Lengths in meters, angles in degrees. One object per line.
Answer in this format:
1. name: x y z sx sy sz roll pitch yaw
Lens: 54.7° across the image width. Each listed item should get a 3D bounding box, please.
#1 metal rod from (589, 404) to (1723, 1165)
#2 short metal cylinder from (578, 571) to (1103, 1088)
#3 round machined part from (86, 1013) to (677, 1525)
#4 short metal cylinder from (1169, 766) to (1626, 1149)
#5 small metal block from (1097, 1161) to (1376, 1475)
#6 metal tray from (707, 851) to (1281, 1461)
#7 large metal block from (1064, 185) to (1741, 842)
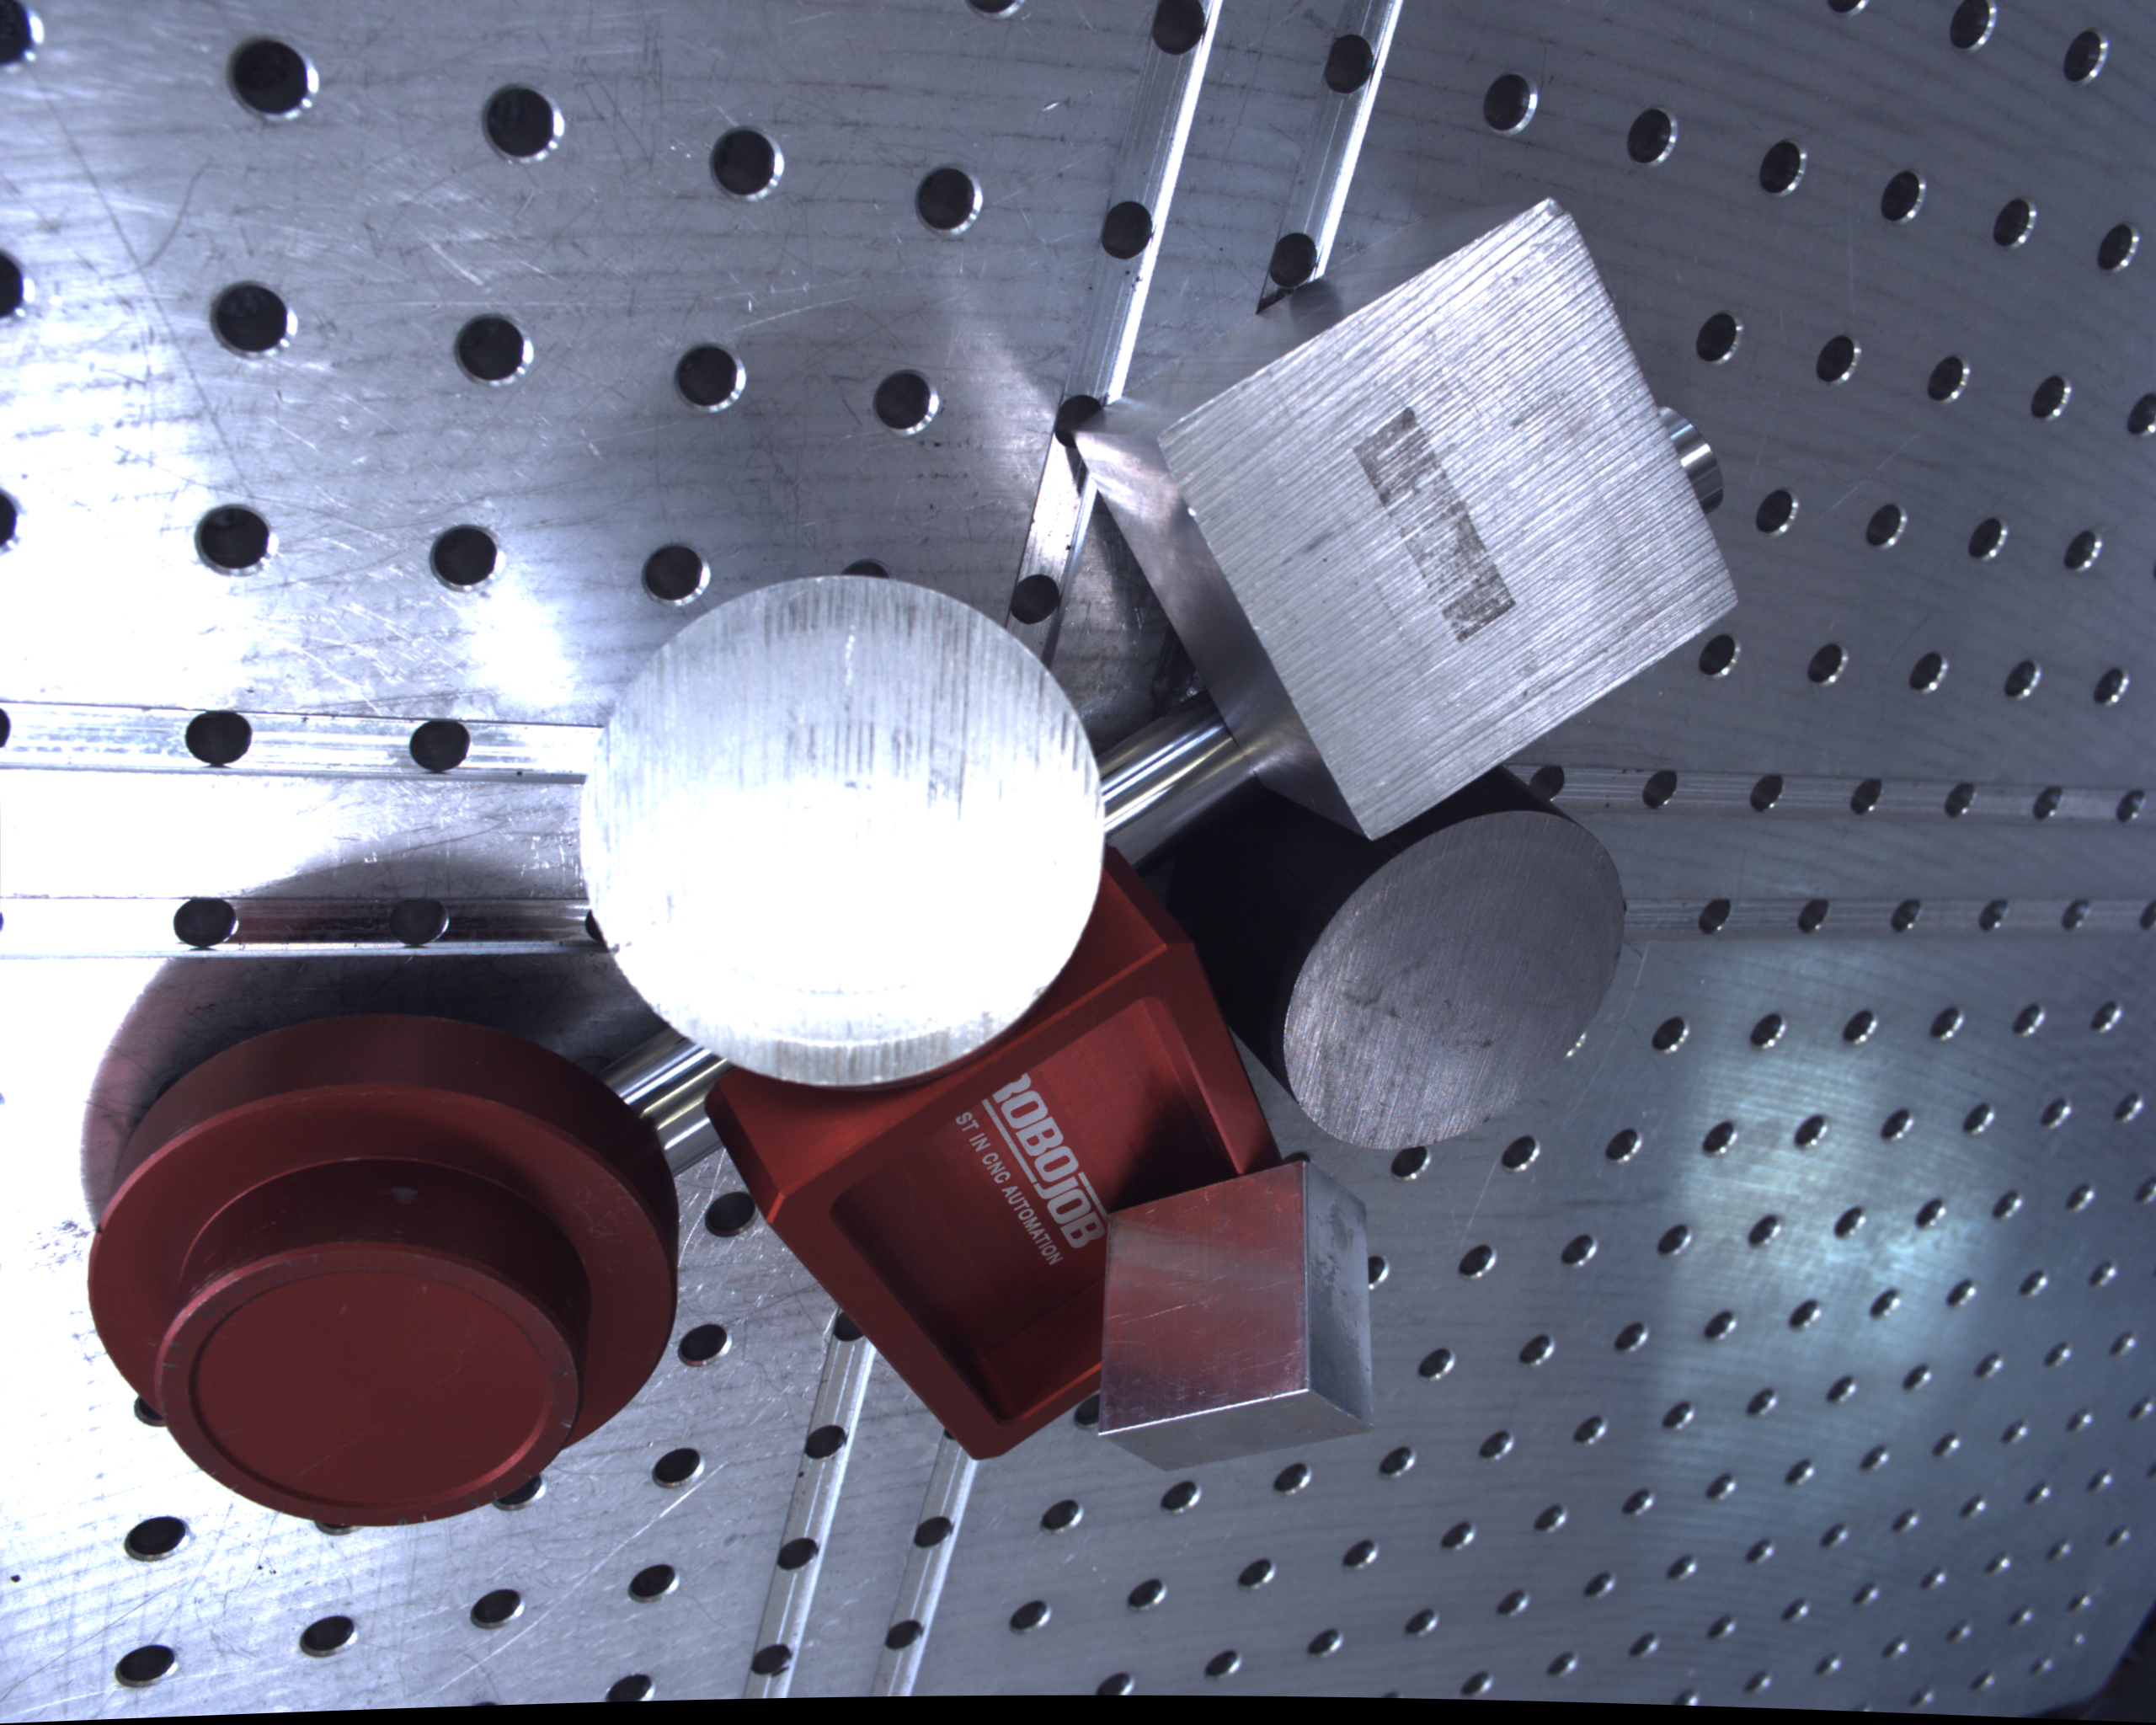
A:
1. metal rod: -0.003 -0.003 0.410 0.301 0.025 0.025 -32 129 -7
2. short metal cylinder: -0.037 -0.003 0.346 0.081 0.050 0.080 0 82 -3
3. round machined part: -0.121 0.077 0.365 0.099 0.042 0.097 -5 124 -7
4. short metal cylinder: 0.066 0.013 0.438 0.081 0.050 0.079 -14 124 -21
5. small metal block: 0.032 0.095 0.434 0.050 0.050 0.025 -21 139 30
6. metal tray: -0.007 0.065 0.425 0.090 0.030 0.130 -33 142 -7
7. large metal block: 0.057 -0.062 0.372 0.080 0.050 0.080 -32 109 -7
